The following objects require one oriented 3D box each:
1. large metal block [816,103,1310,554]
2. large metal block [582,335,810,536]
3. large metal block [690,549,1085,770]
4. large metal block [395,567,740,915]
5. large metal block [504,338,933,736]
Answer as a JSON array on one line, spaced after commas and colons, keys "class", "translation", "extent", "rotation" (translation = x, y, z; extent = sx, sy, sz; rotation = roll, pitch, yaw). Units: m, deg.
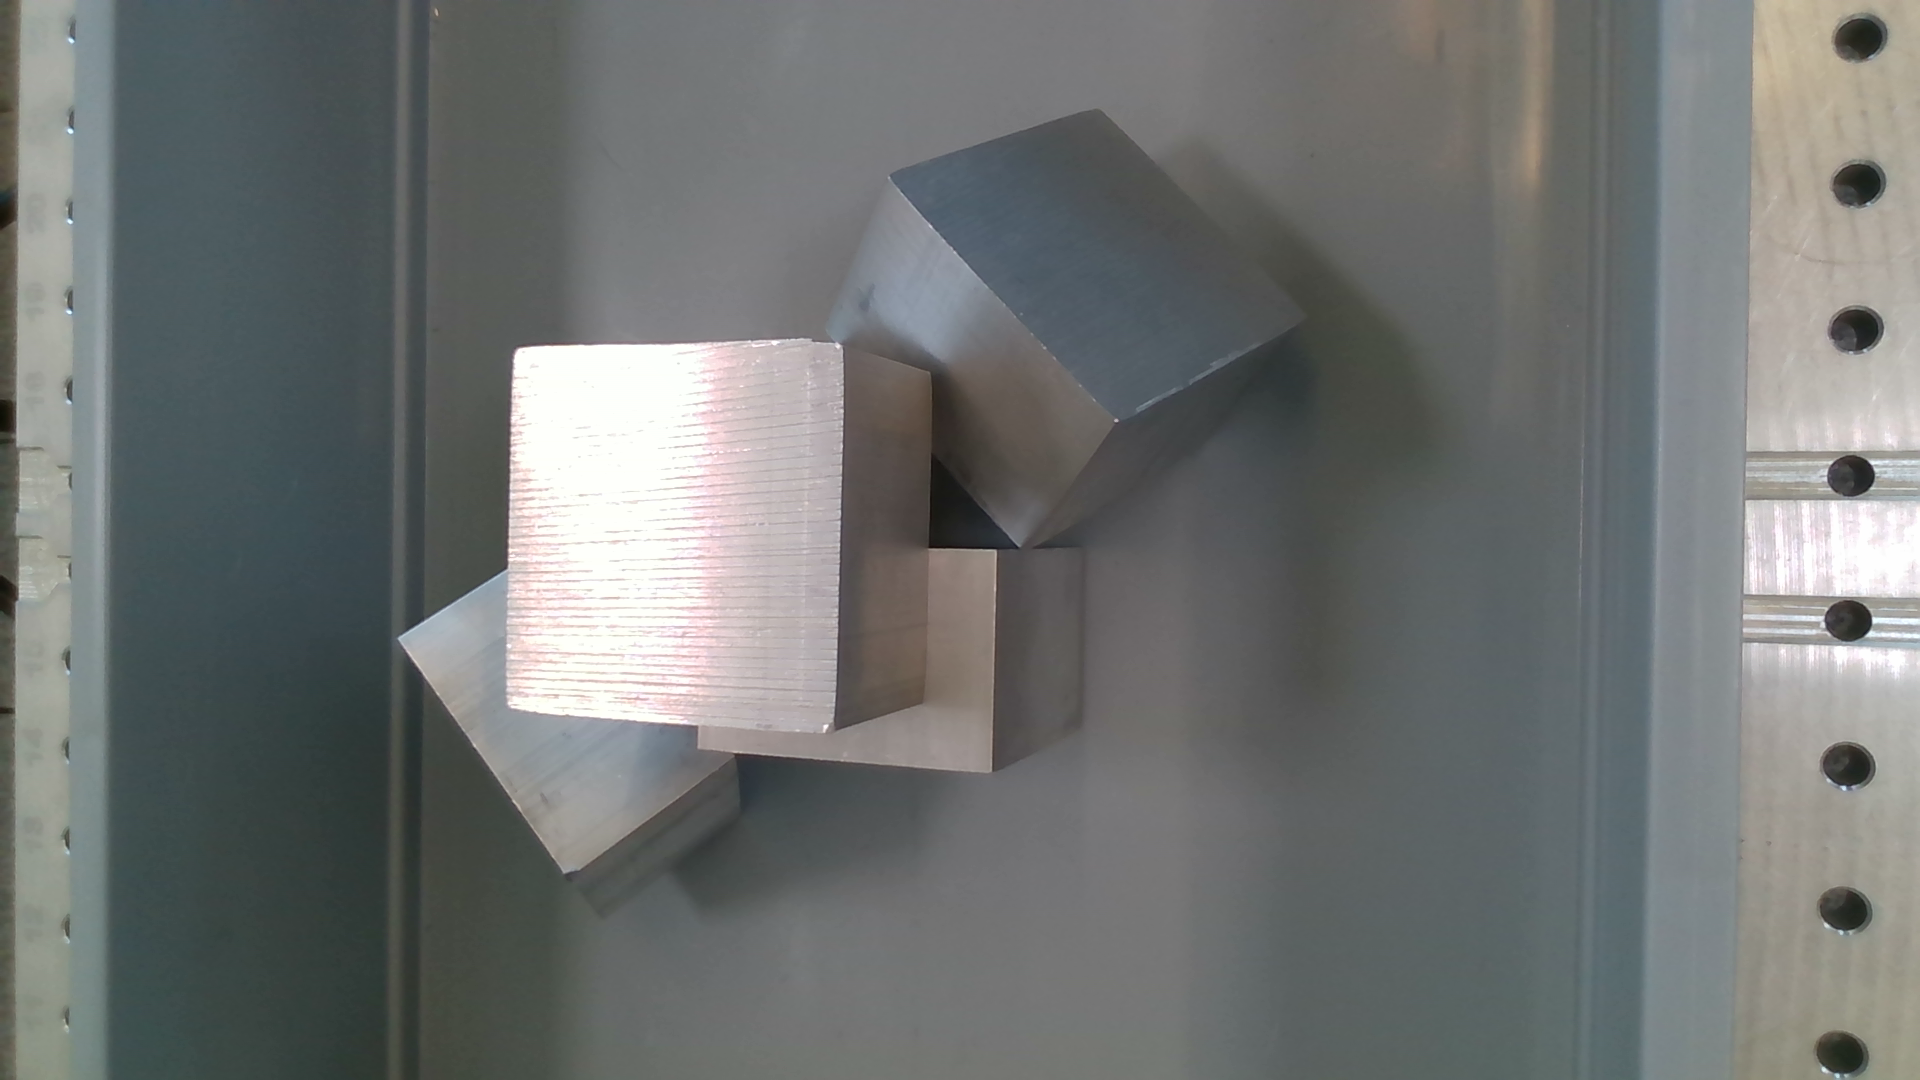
[{"class": "large metal block", "translation": [0.025, -0.056, 0.346], "extent": [0.080, 0.080, 0.050], "rotation": [49, 140, 13]}, {"class": "large metal block", "translation": [-0.061, -0.026, 0.386], "extent": [0.080, 0.080, 0.050], "rotation": [1, 91, 20]}, {"class": "large metal block", "translation": [-0.016, 0.027, 0.368], "extent": [0.080, 0.080, 0.050], "rotation": [1, 91, 20]}, {"class": "large metal block", "translation": [-0.108, 0.056, 0.396], "extent": [0.050, 0.080, 0.080], "rotation": [-35, 76, -19]}, {"class": "large metal block", "translation": [-0.054, -0.002, 0.313], "extent": [0.080, 0.050, 0.080], "rotation": [2, 91, 20]}]
